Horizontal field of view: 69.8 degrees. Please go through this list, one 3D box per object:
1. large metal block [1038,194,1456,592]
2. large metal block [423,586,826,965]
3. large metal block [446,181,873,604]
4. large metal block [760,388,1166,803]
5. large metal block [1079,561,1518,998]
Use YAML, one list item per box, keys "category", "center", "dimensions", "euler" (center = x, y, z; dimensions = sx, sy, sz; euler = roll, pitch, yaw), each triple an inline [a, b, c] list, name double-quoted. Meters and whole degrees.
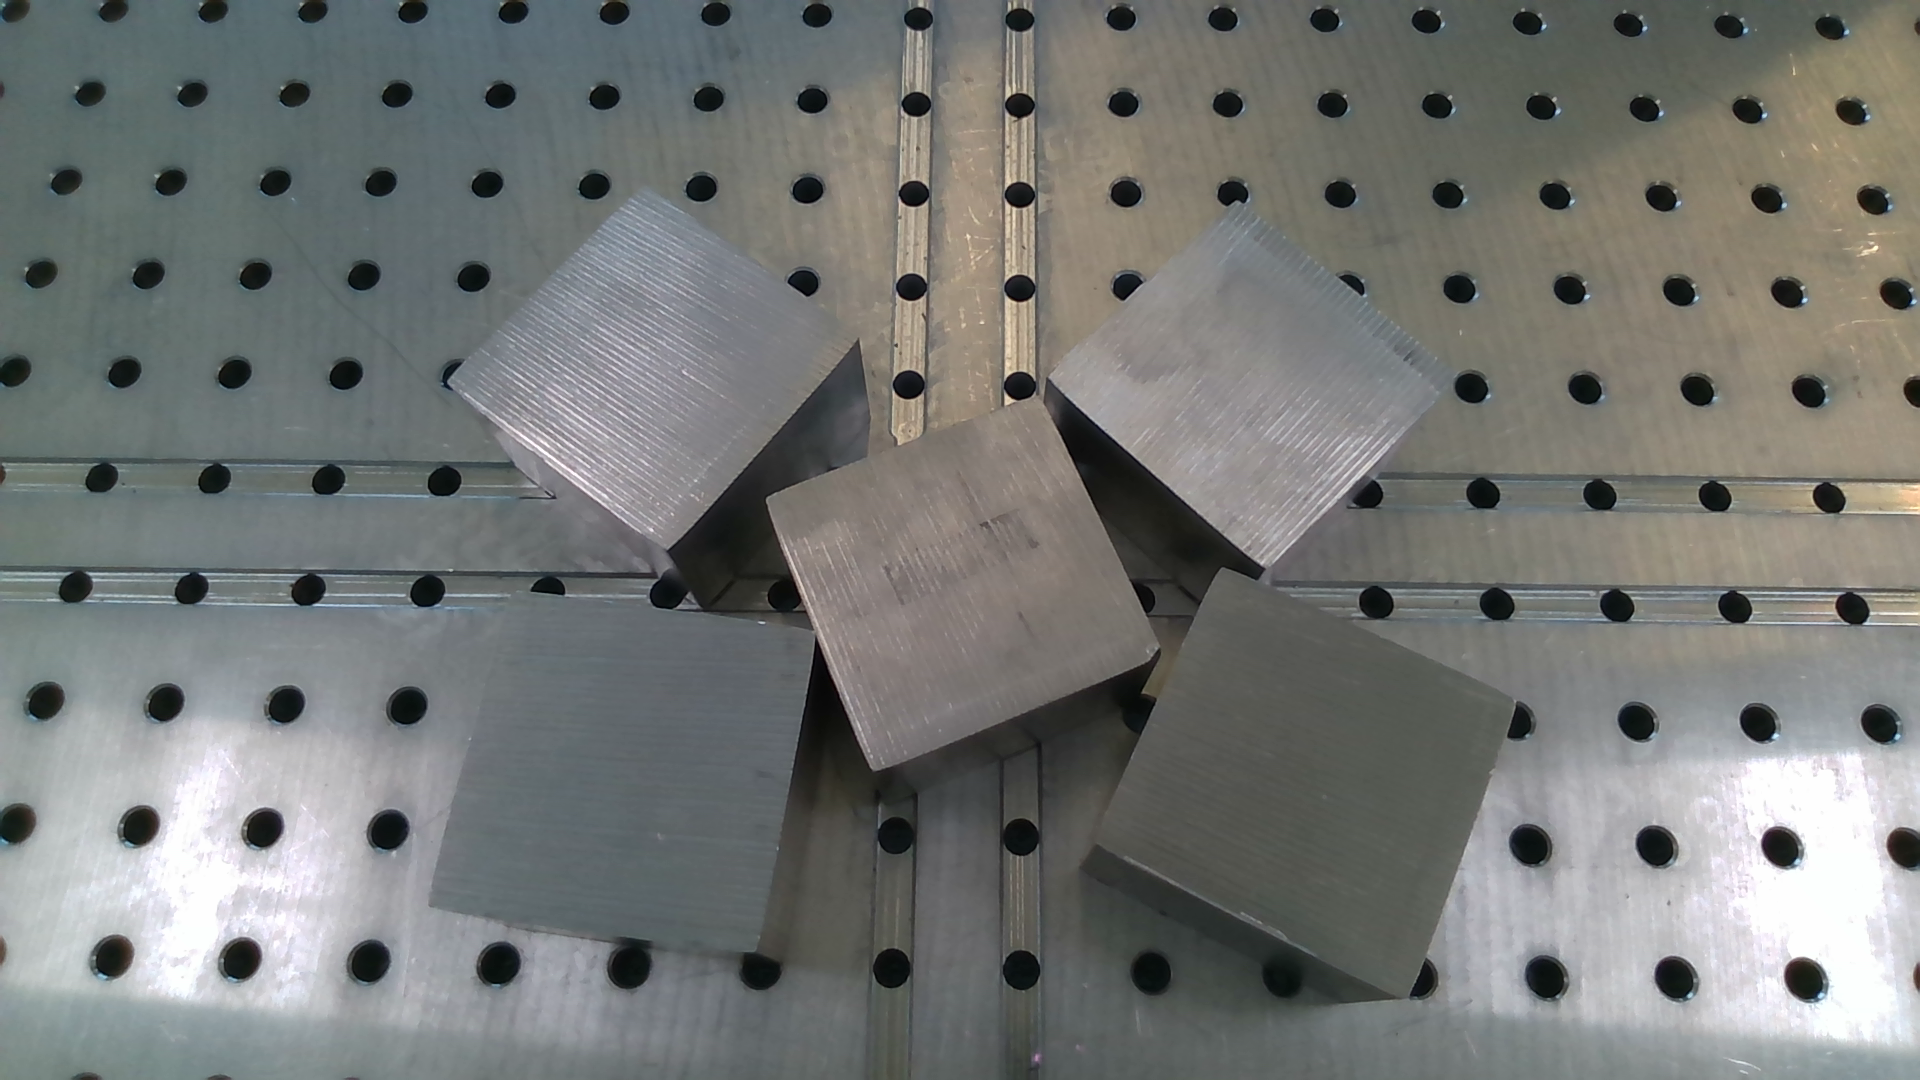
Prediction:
- category: "large metal block"
  center: [0.078, -0.037, 0.398]
  dimensions: [0.080, 0.050, 0.080]
  euler: [-42, 75, -14]
- category: "large metal block"
  center: [-0.082, 0.063, 0.362]
  dimensions: [0.080, 0.050, 0.080]
  euler: [8, 71, 3]
- category: "large metal block"
  center: [-0.083, -0.041, 0.398]
  dimensions: [0.080, 0.050, 0.080]
  euler: [36, 74, 12]
- category: "large metal block"
  center: [0.000, 0.017, 0.378]
  dimensions: [0.080, 0.050, 0.080]
  euler: [-22, 72, -7]
- category: "large metal block"
  center: [0.086, 0.064, 0.361]
  dimensions: [0.080, 0.050, 0.080]
  euler: [24, 75, 9]
